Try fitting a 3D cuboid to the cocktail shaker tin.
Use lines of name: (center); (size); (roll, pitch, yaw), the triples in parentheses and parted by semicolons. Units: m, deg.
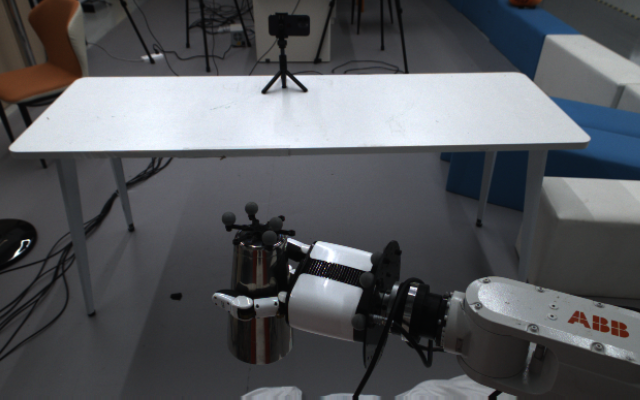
cocktail shaker tin: (-0.077, 0.121, 0.640); (0.093, 0.170, 0.093); (2, 25, -1)
